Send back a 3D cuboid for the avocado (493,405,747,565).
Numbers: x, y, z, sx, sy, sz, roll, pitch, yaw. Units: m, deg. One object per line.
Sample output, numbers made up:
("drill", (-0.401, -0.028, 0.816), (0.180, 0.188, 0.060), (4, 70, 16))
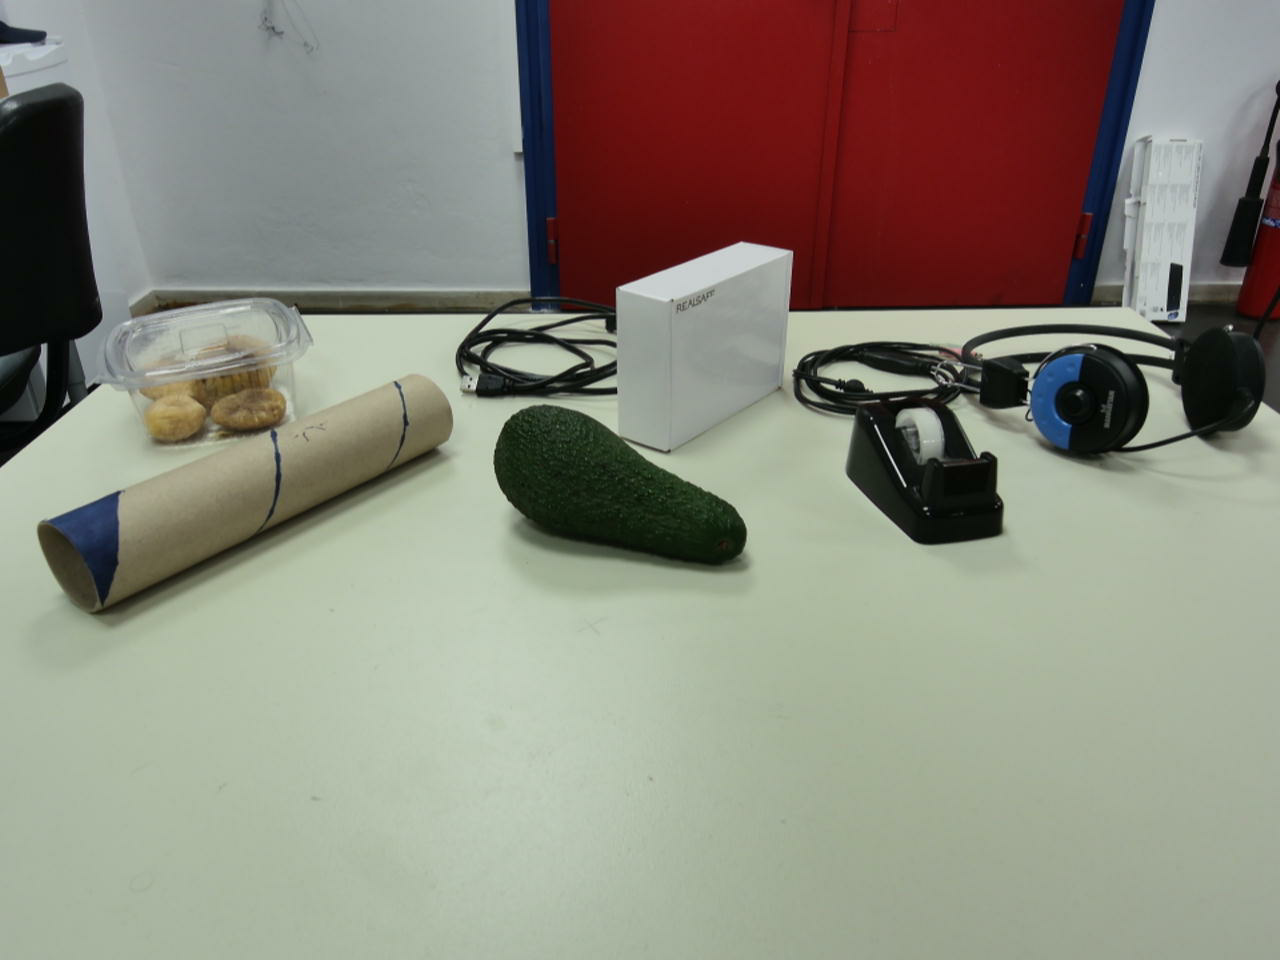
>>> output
("avocado", (-0.009, -0.001, 0.512), (0.141, 0.067, 0.063), (7, 26, 14))
